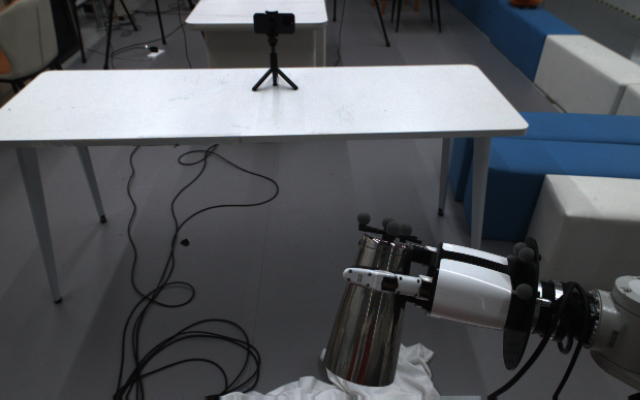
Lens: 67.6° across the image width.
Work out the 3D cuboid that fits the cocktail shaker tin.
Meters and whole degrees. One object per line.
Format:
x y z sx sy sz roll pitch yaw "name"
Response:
0.070 0.132 0.616 0.093 0.170 0.093 12 3 -1 "cocktail shaker tin"
